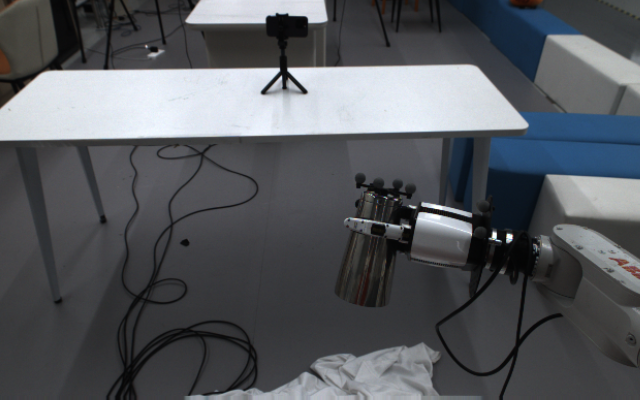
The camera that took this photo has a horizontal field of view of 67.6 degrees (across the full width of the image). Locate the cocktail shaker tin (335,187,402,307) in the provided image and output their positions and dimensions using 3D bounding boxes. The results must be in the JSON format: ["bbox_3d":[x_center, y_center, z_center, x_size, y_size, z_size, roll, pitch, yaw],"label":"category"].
[{"bbox_3d":[0.086,0.071,0.777,0.093,0.170,0.093,10,9,-2],"label":"cocktail shaker tin"}]
